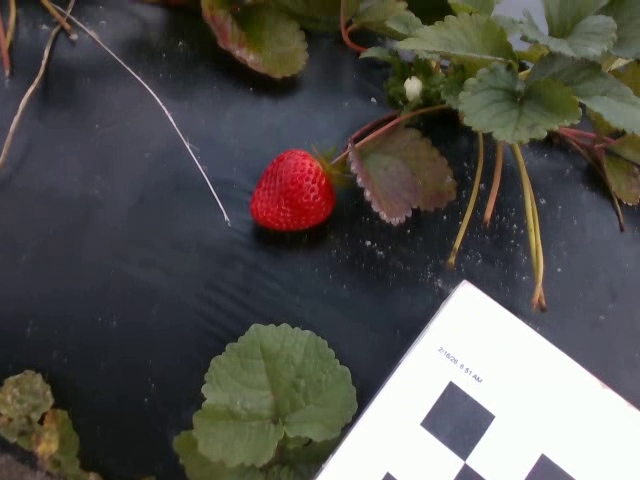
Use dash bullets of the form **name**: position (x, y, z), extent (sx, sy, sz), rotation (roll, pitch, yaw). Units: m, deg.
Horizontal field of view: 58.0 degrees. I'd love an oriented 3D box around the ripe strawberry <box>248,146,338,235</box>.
- **ripe strawberry**: position (-0.011, -0.015, 0.185), extent (0.032, 0.029, 0.023), rotation (-34, -19, -12)
